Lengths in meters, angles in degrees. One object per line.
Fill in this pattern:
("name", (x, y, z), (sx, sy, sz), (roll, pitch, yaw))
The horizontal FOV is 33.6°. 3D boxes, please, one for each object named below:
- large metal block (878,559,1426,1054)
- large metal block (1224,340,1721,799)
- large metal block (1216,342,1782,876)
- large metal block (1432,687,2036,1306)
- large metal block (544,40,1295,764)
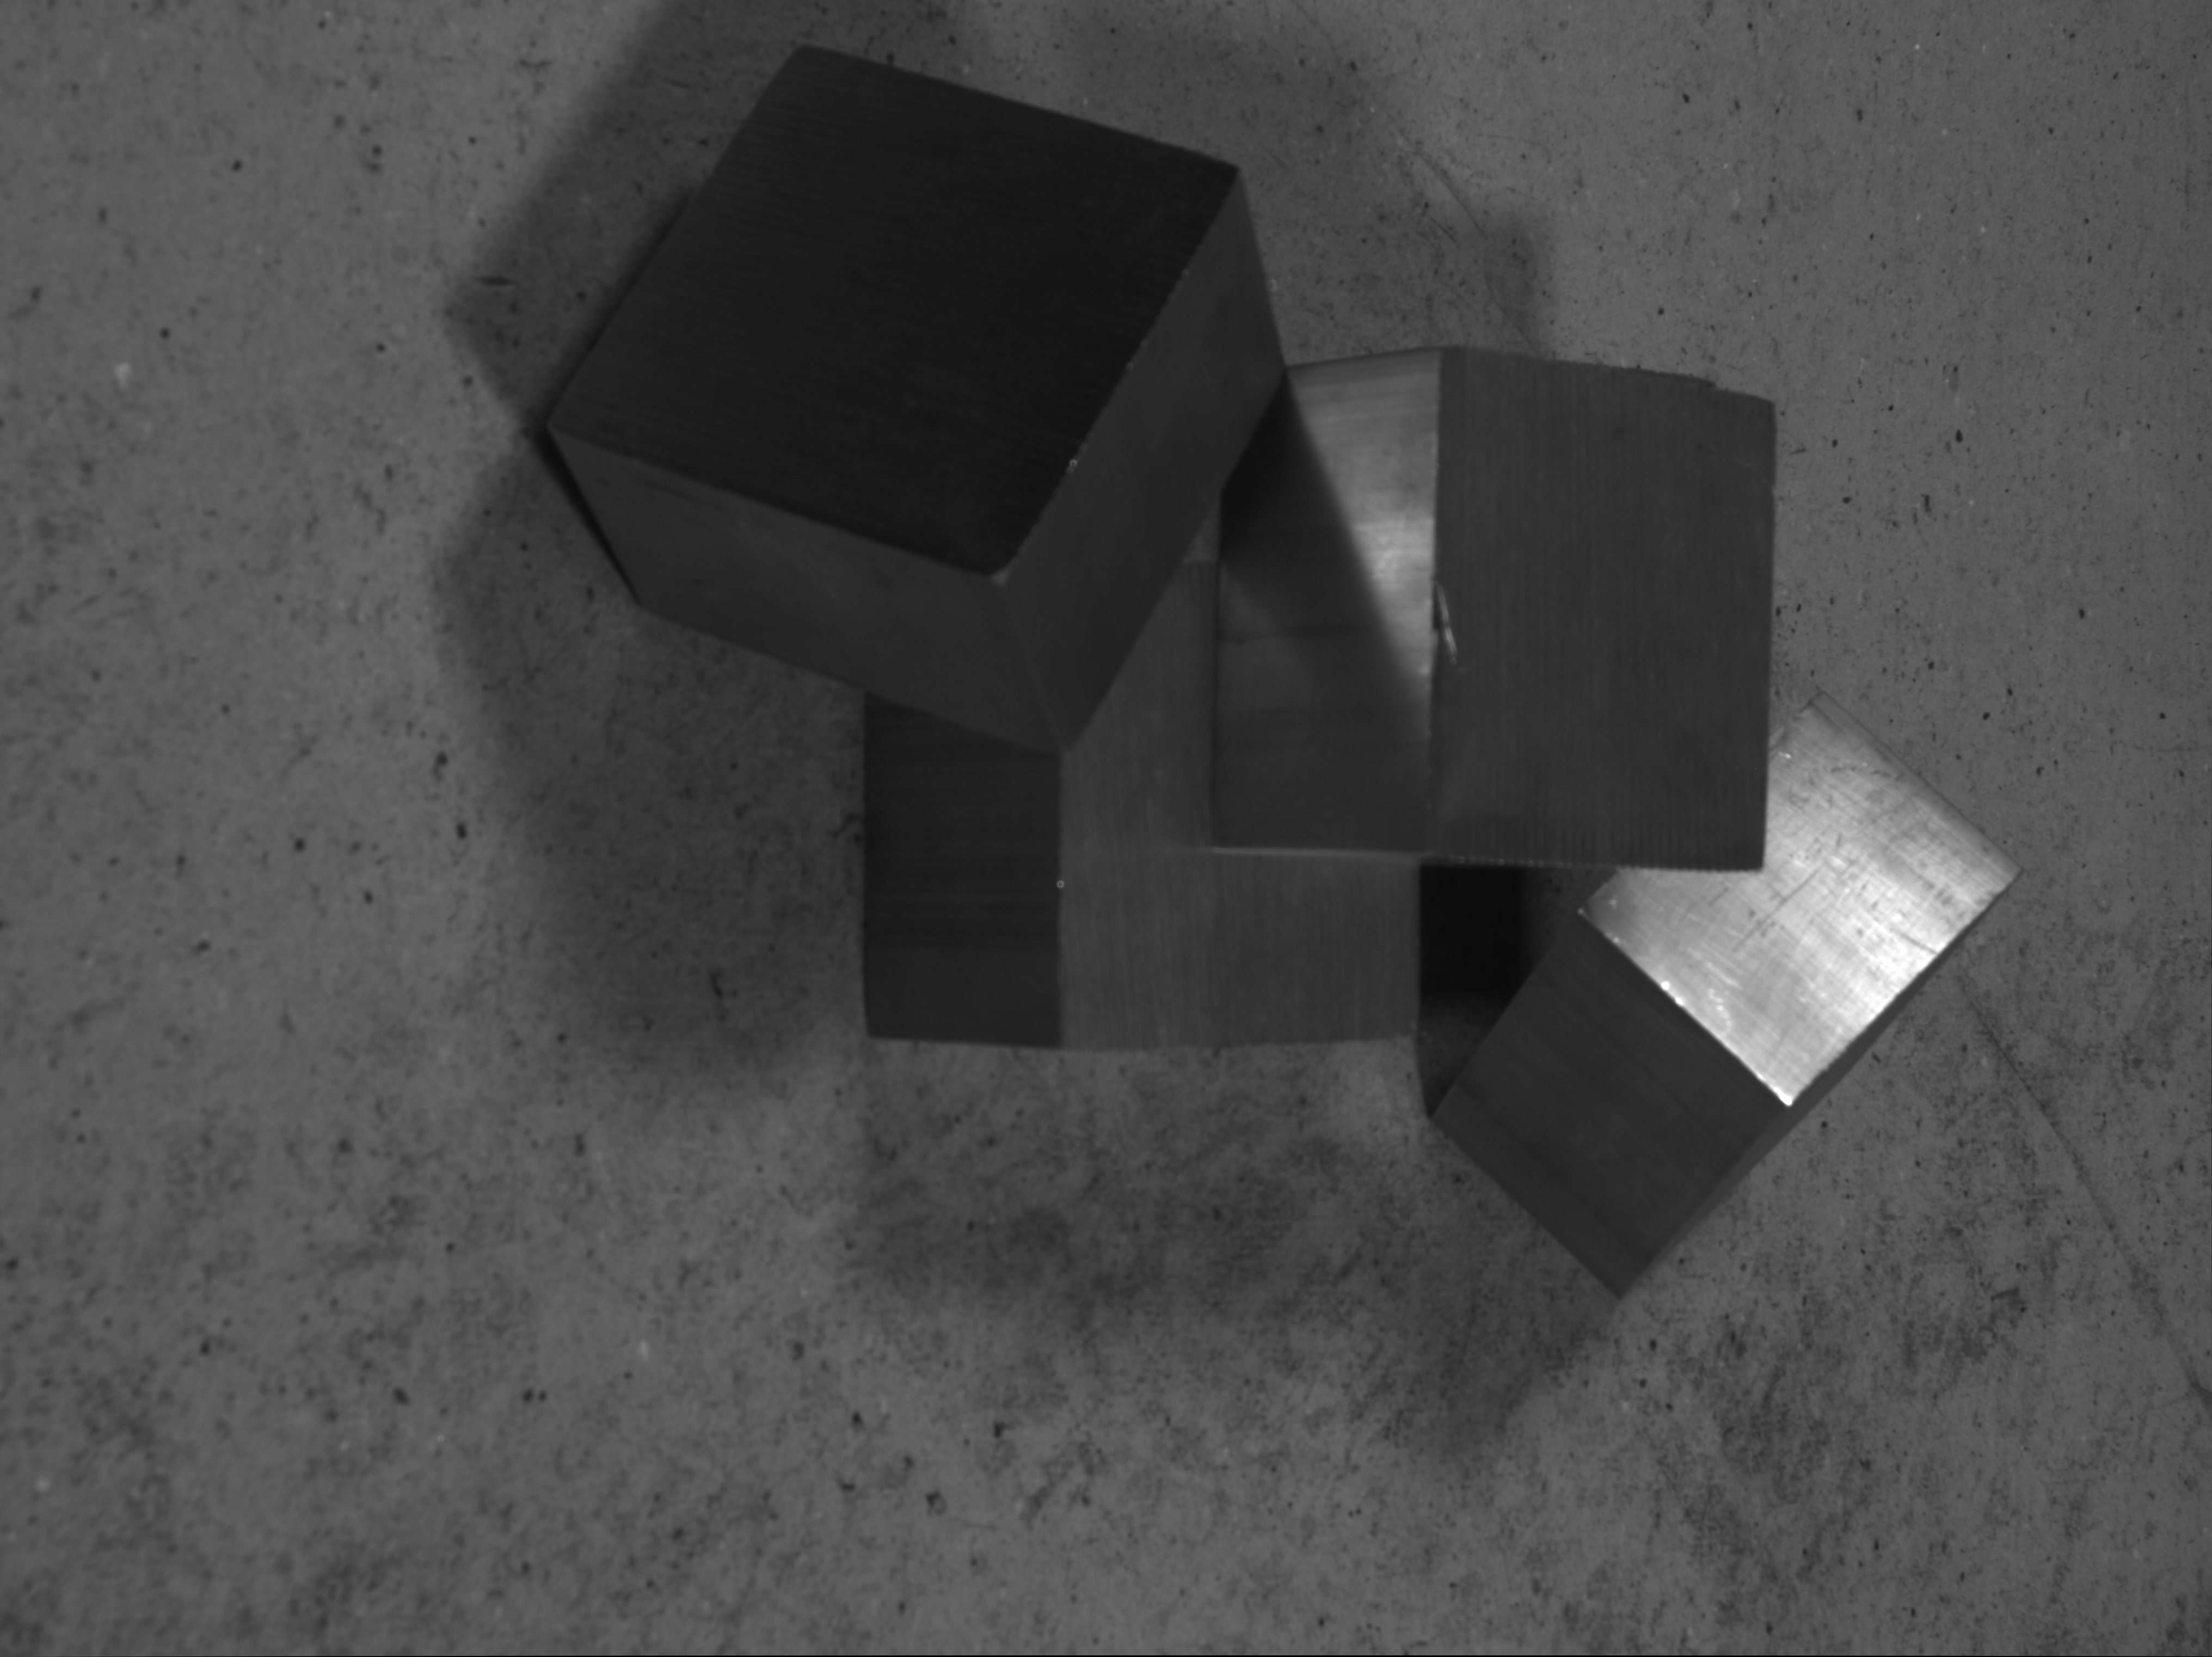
("large metal block", (0.008, -0.004, 0.626), (0.080, 0.050, 0.080), (0, 90, -40))
("large metal block", (0.068, -0.044, 0.679), (0.080, 0.050, 0.080), (0, 90, -40))
("large metal block", (0.066, -0.033, 0.608), (0.080, 0.050, 0.080), (3, 88, -40))
("large metal block", (0.117, 0.032, 0.691), (0.050, 0.080, 0.080), (44, 56, 12))
("large metal block", (-0.027, -0.067, 0.571), (0.080, 0.080, 0.050), (-61, 157, -22))
